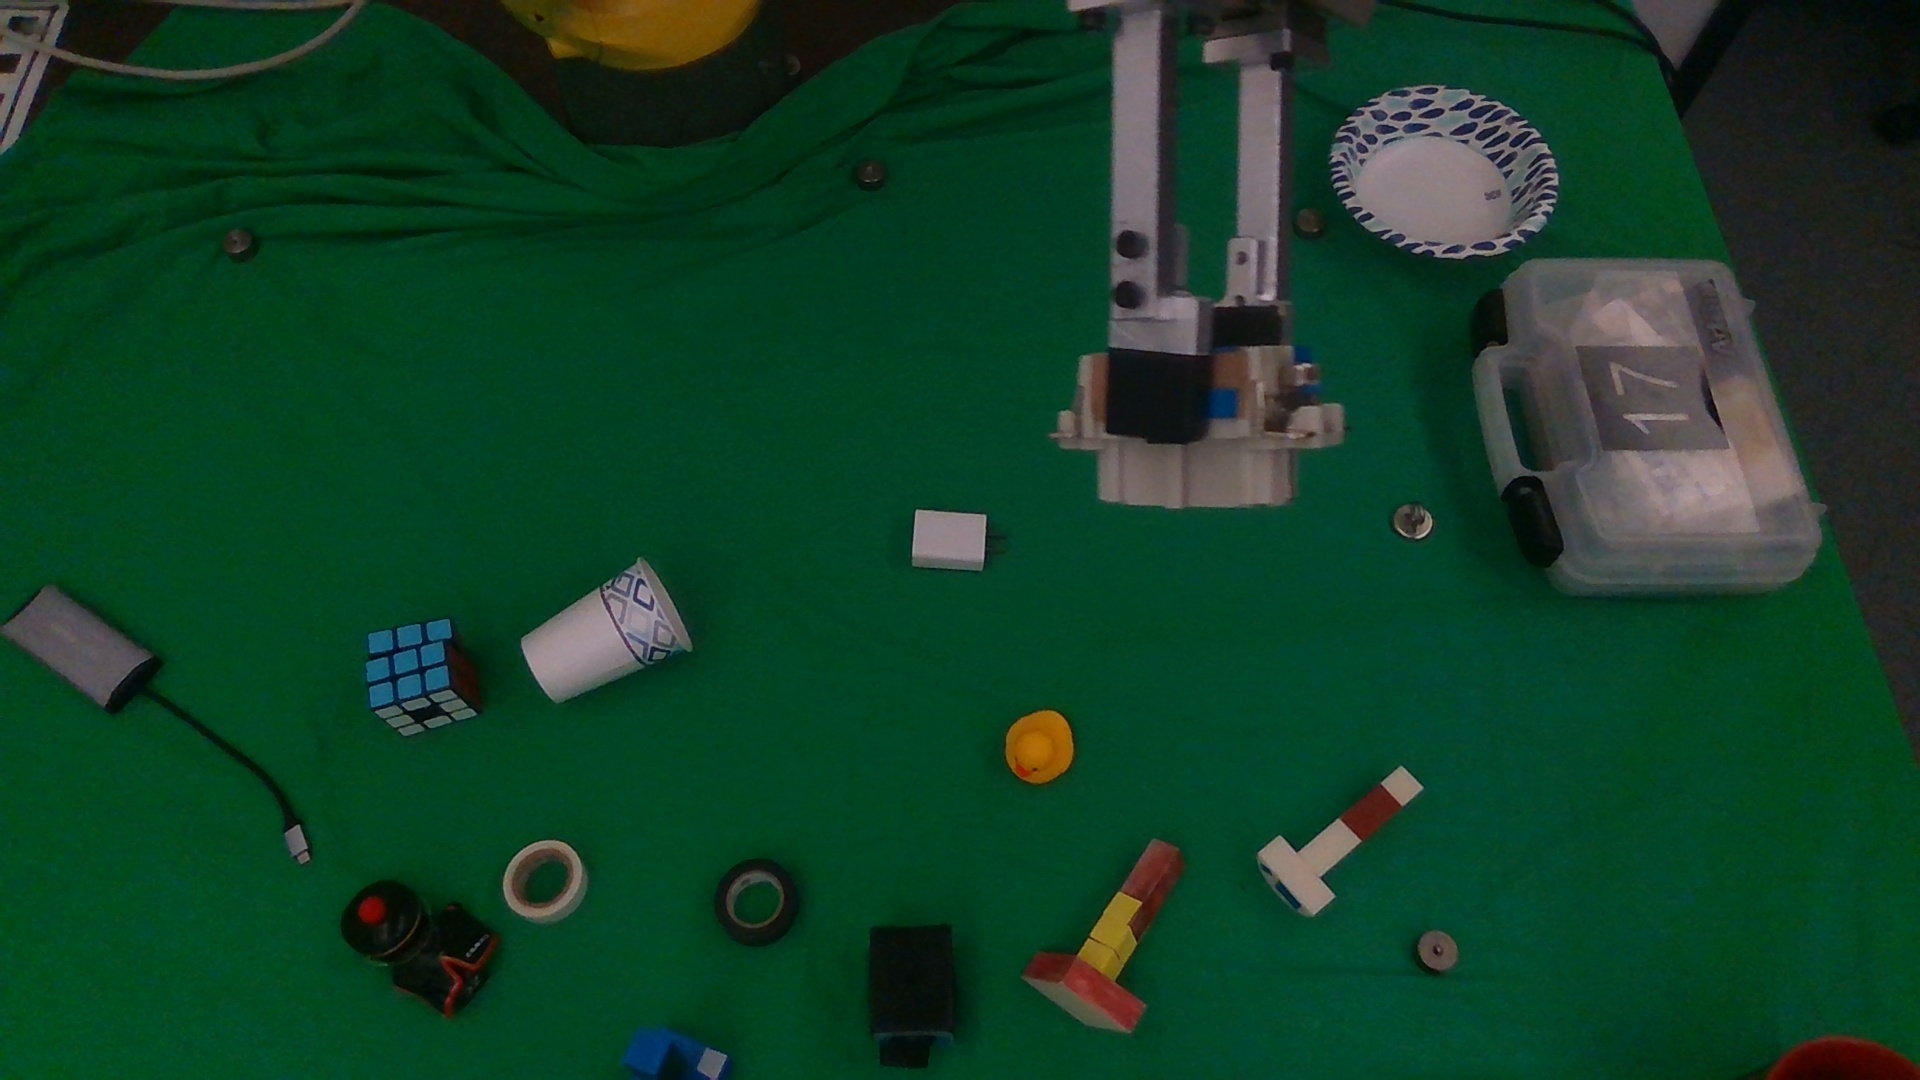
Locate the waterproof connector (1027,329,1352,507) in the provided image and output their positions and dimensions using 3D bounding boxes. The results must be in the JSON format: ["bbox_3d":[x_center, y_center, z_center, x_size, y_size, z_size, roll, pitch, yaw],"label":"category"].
[{"bbox_3d":[0.050,-0.026,0.303,0.065,0.034,0.037,3,96,30],"label":"waterproof connector"}]

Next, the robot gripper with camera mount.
[{"bbox_3d":[0.120,-0.098,0.252,0.194,0.118,0.158,3,98,34],"label":"robot gripper with camera mount"}]
